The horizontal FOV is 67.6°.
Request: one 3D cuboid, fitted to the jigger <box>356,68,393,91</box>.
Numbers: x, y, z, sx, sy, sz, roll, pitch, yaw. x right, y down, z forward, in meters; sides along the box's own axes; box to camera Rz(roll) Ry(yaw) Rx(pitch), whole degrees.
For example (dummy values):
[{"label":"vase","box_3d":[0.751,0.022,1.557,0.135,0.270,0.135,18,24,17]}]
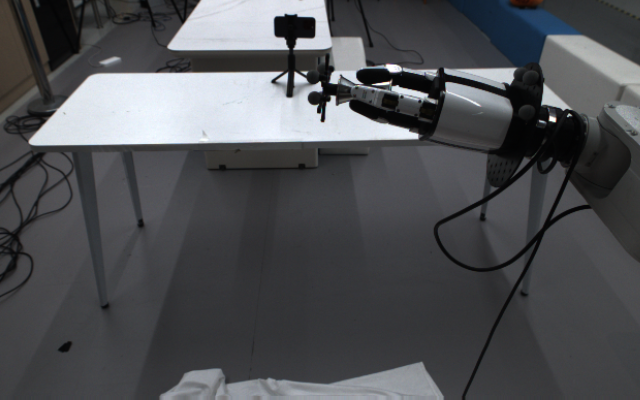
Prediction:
[{"label":"jigger","box_3d":[0.064,-0.144,0.631,0.071,0.043,0.043,7,35,7]}]
